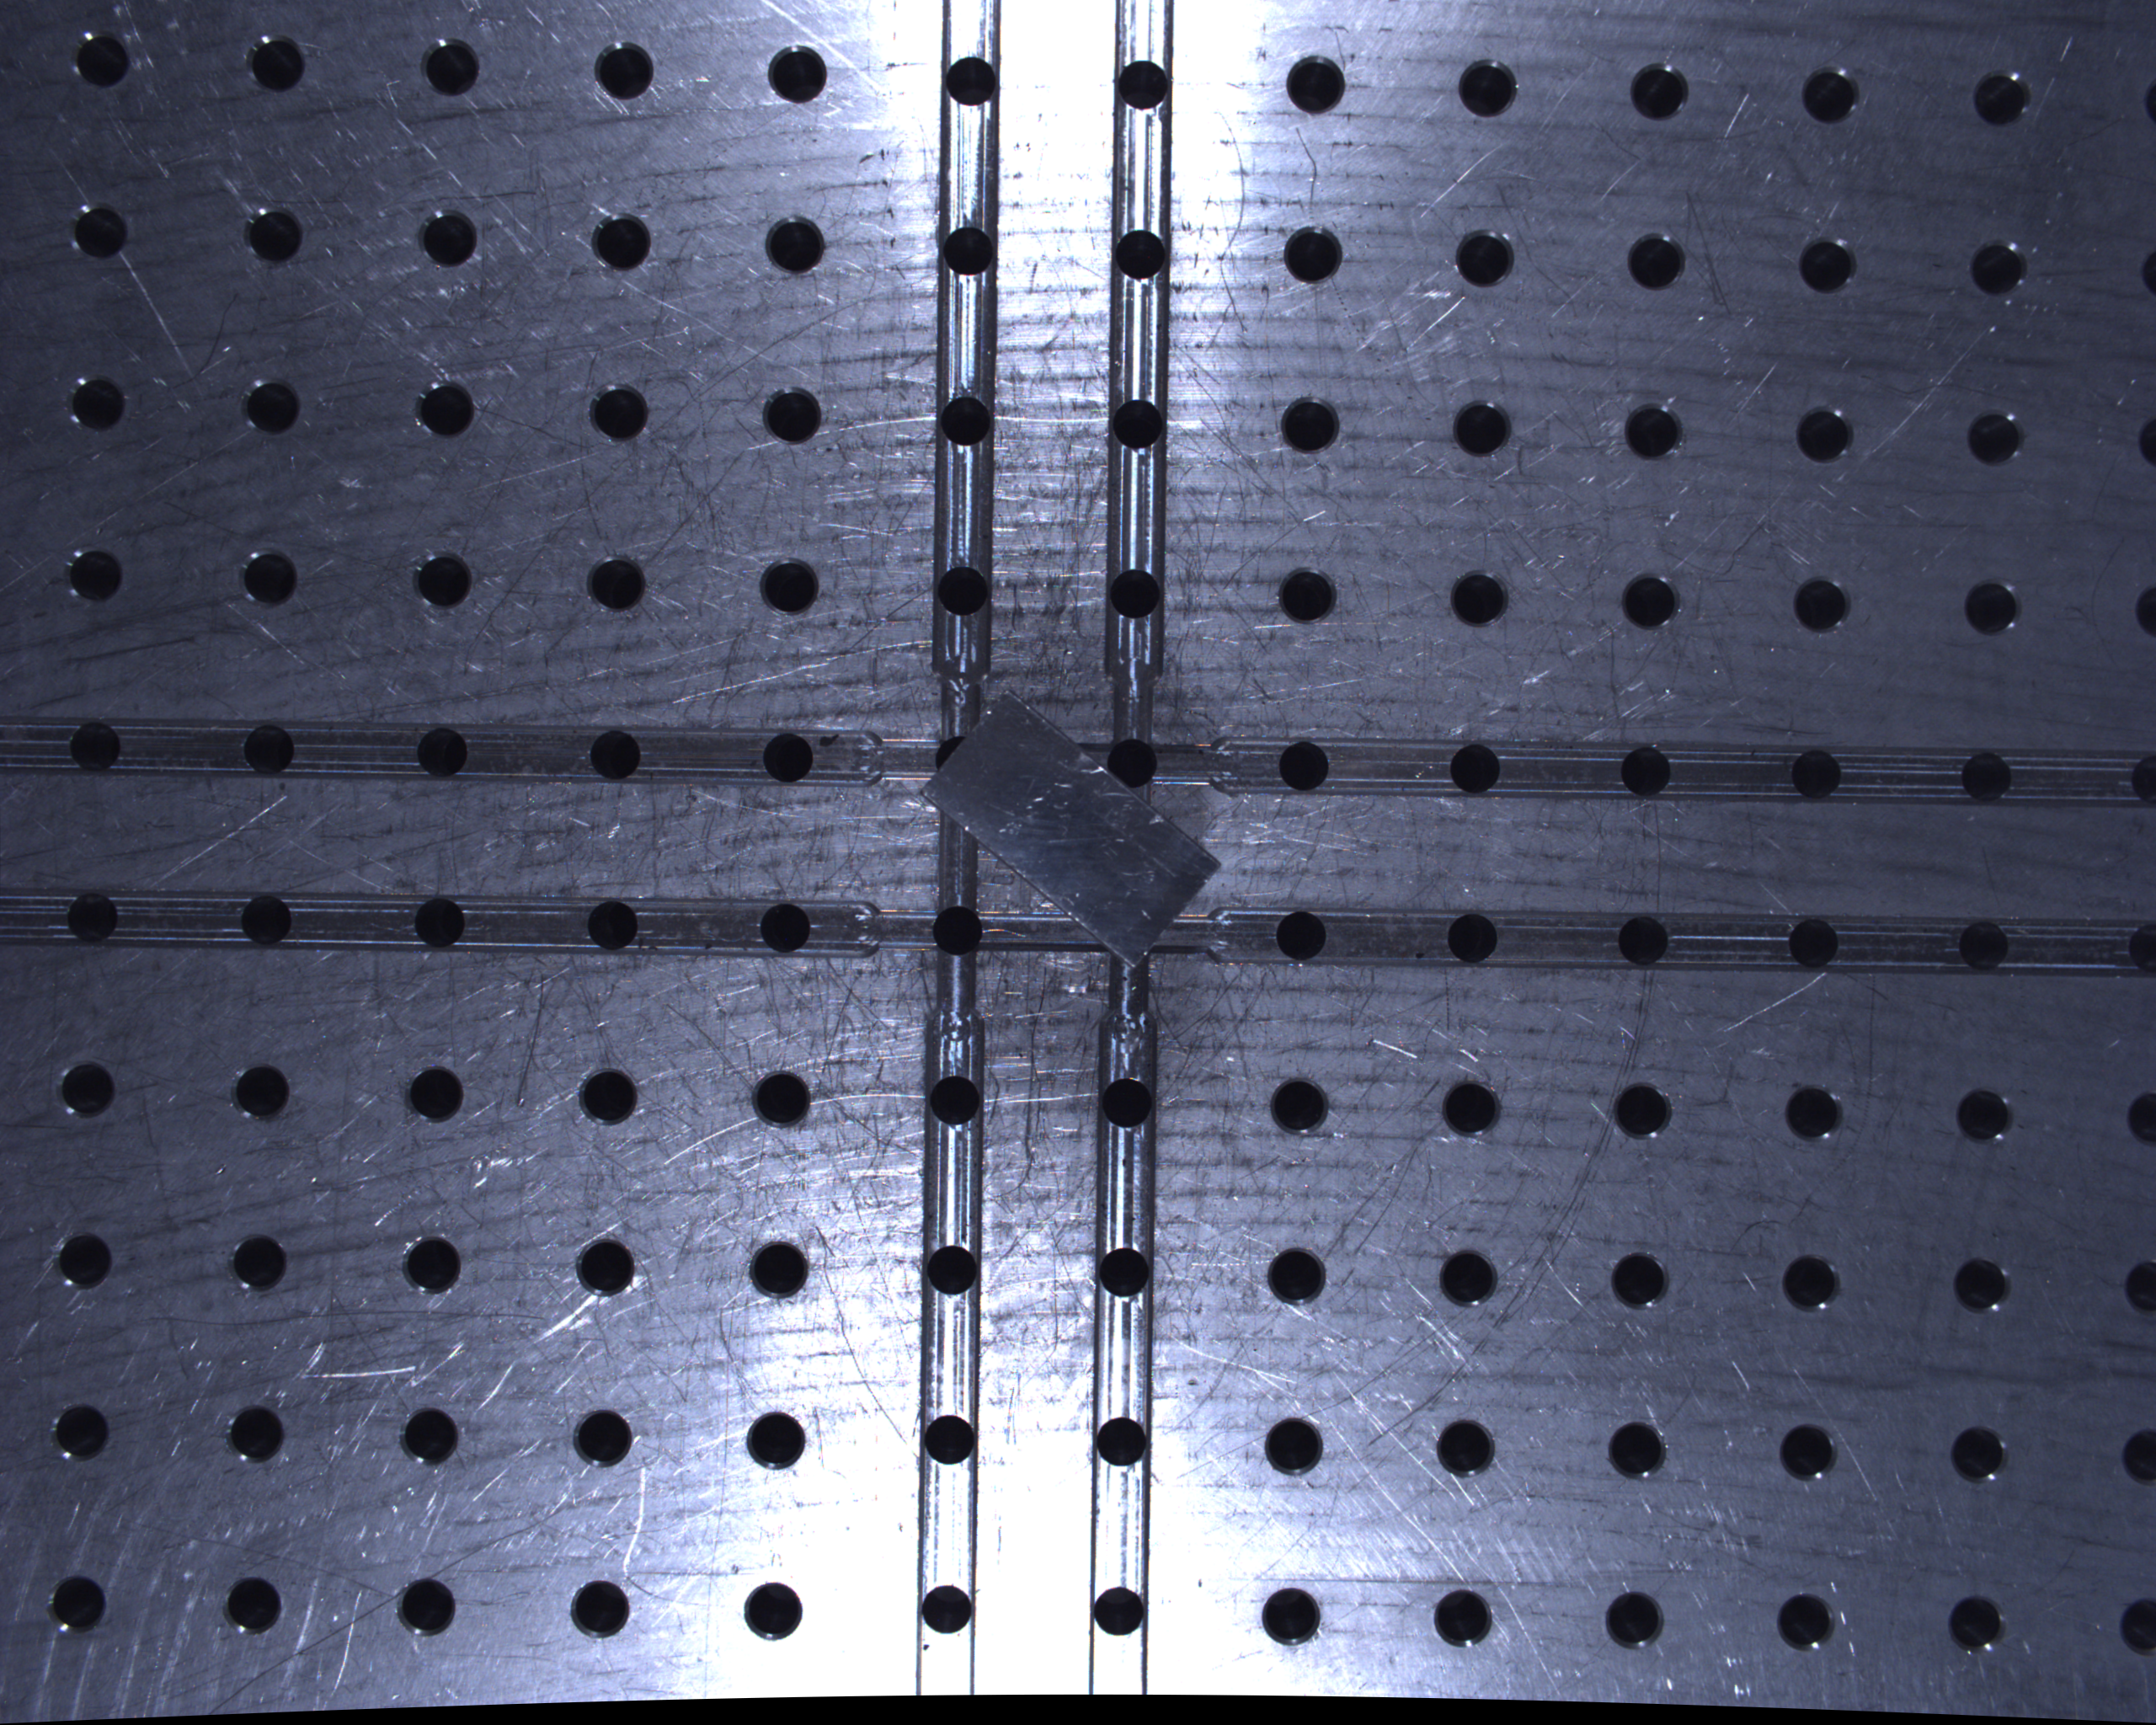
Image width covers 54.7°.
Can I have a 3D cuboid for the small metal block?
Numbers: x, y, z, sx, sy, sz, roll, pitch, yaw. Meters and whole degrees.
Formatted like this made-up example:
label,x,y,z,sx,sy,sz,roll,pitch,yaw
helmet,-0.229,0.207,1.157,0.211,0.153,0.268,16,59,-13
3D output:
label,x,y,z,sx,sy,sz,roll,pitch,yaw
small metal block,-0.001,-0.006,0.401,0.050,0.050,0.025,40,90,-1
